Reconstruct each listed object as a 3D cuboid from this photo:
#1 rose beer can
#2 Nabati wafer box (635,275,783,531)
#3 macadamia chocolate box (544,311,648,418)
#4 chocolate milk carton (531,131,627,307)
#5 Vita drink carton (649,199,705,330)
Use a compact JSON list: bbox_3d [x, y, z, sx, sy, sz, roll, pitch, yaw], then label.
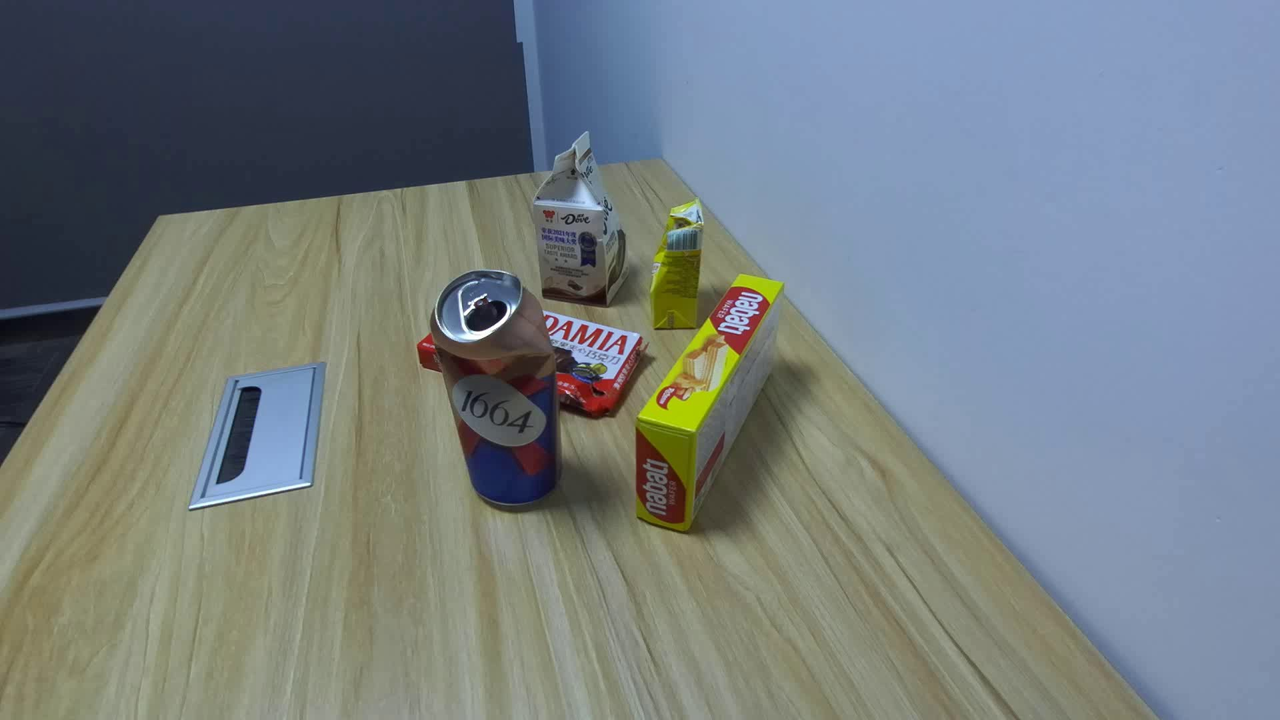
[{"bbox_3d":[-0.091,0.023,0.468,0.069,0.168,0.069,-15,41,-15],"label":"rose beer can"},{"bbox_3d":[0.055,0.023,0.523,0.042,0.093,0.203,16,39,19],"label":"Nabati wafer box"},{"bbox_3d":[-0.093,-0.005,0.625,0.186,0.027,0.103,13,42,19],"label":"macadamia chocolate box"},{"bbox_3d":[-0.056,-0.140,0.698,0.073,0.155,0.084,9,35,14],"label":"chocolate milk carton"},{"bbox_3d":[0.033,-0.091,0.663,0.046,0.110,0.071,1,35,0],"label":"Vita drink carton"}]
